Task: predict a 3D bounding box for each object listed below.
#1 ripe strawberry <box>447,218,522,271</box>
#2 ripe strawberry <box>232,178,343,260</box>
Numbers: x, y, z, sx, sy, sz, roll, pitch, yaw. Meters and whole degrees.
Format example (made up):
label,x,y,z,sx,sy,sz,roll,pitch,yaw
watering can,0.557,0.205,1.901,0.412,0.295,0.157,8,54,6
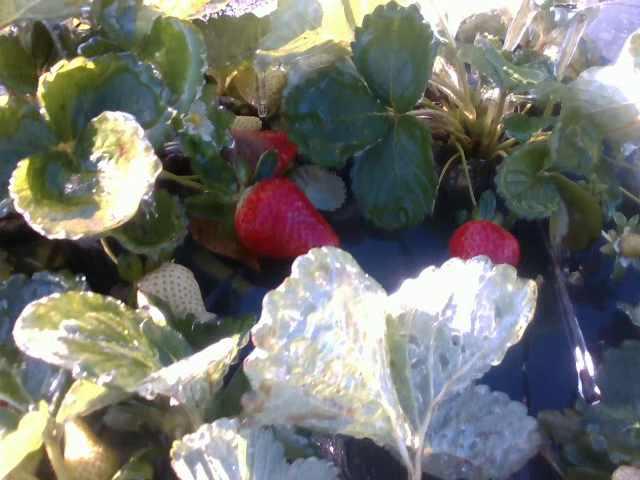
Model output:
label,x,y,z,sx,sy,sz,roll,pitch,yaw
ripe strawberry,0.079,0.009,0.299,0.039,0.047,0.040,25,-37,-2
ripe strawberry,-0.013,-0.009,0.300,0.056,0.044,0.040,35,-26,3
